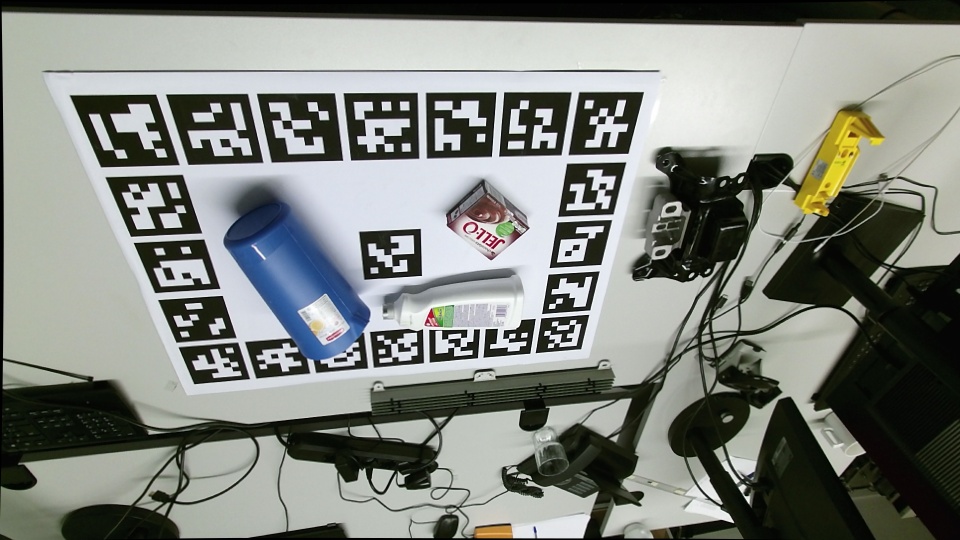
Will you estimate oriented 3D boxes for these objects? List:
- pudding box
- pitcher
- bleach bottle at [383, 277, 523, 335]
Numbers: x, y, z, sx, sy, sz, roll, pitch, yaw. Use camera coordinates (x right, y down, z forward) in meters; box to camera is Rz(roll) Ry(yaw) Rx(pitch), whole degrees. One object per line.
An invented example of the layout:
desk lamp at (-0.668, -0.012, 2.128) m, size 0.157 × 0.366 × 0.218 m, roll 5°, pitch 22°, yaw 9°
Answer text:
pudding box at (0.013, -0.072, 0.893) m, size 0.090 × 0.038 × 0.114 m, roll -37°, pitch 123°, yaw 22°
pitcher at (-0.302, 0.018, 0.866) m, size 0.189 × 0.133 × 0.243 m, roll -2°, pitch 129°, yaw 34°
bleach bottle at (-0.051, 0.077, 0.981) m, size 0.252 × 0.067 × 0.102 m, roll -6°, pitch 122°, yaw -5°
